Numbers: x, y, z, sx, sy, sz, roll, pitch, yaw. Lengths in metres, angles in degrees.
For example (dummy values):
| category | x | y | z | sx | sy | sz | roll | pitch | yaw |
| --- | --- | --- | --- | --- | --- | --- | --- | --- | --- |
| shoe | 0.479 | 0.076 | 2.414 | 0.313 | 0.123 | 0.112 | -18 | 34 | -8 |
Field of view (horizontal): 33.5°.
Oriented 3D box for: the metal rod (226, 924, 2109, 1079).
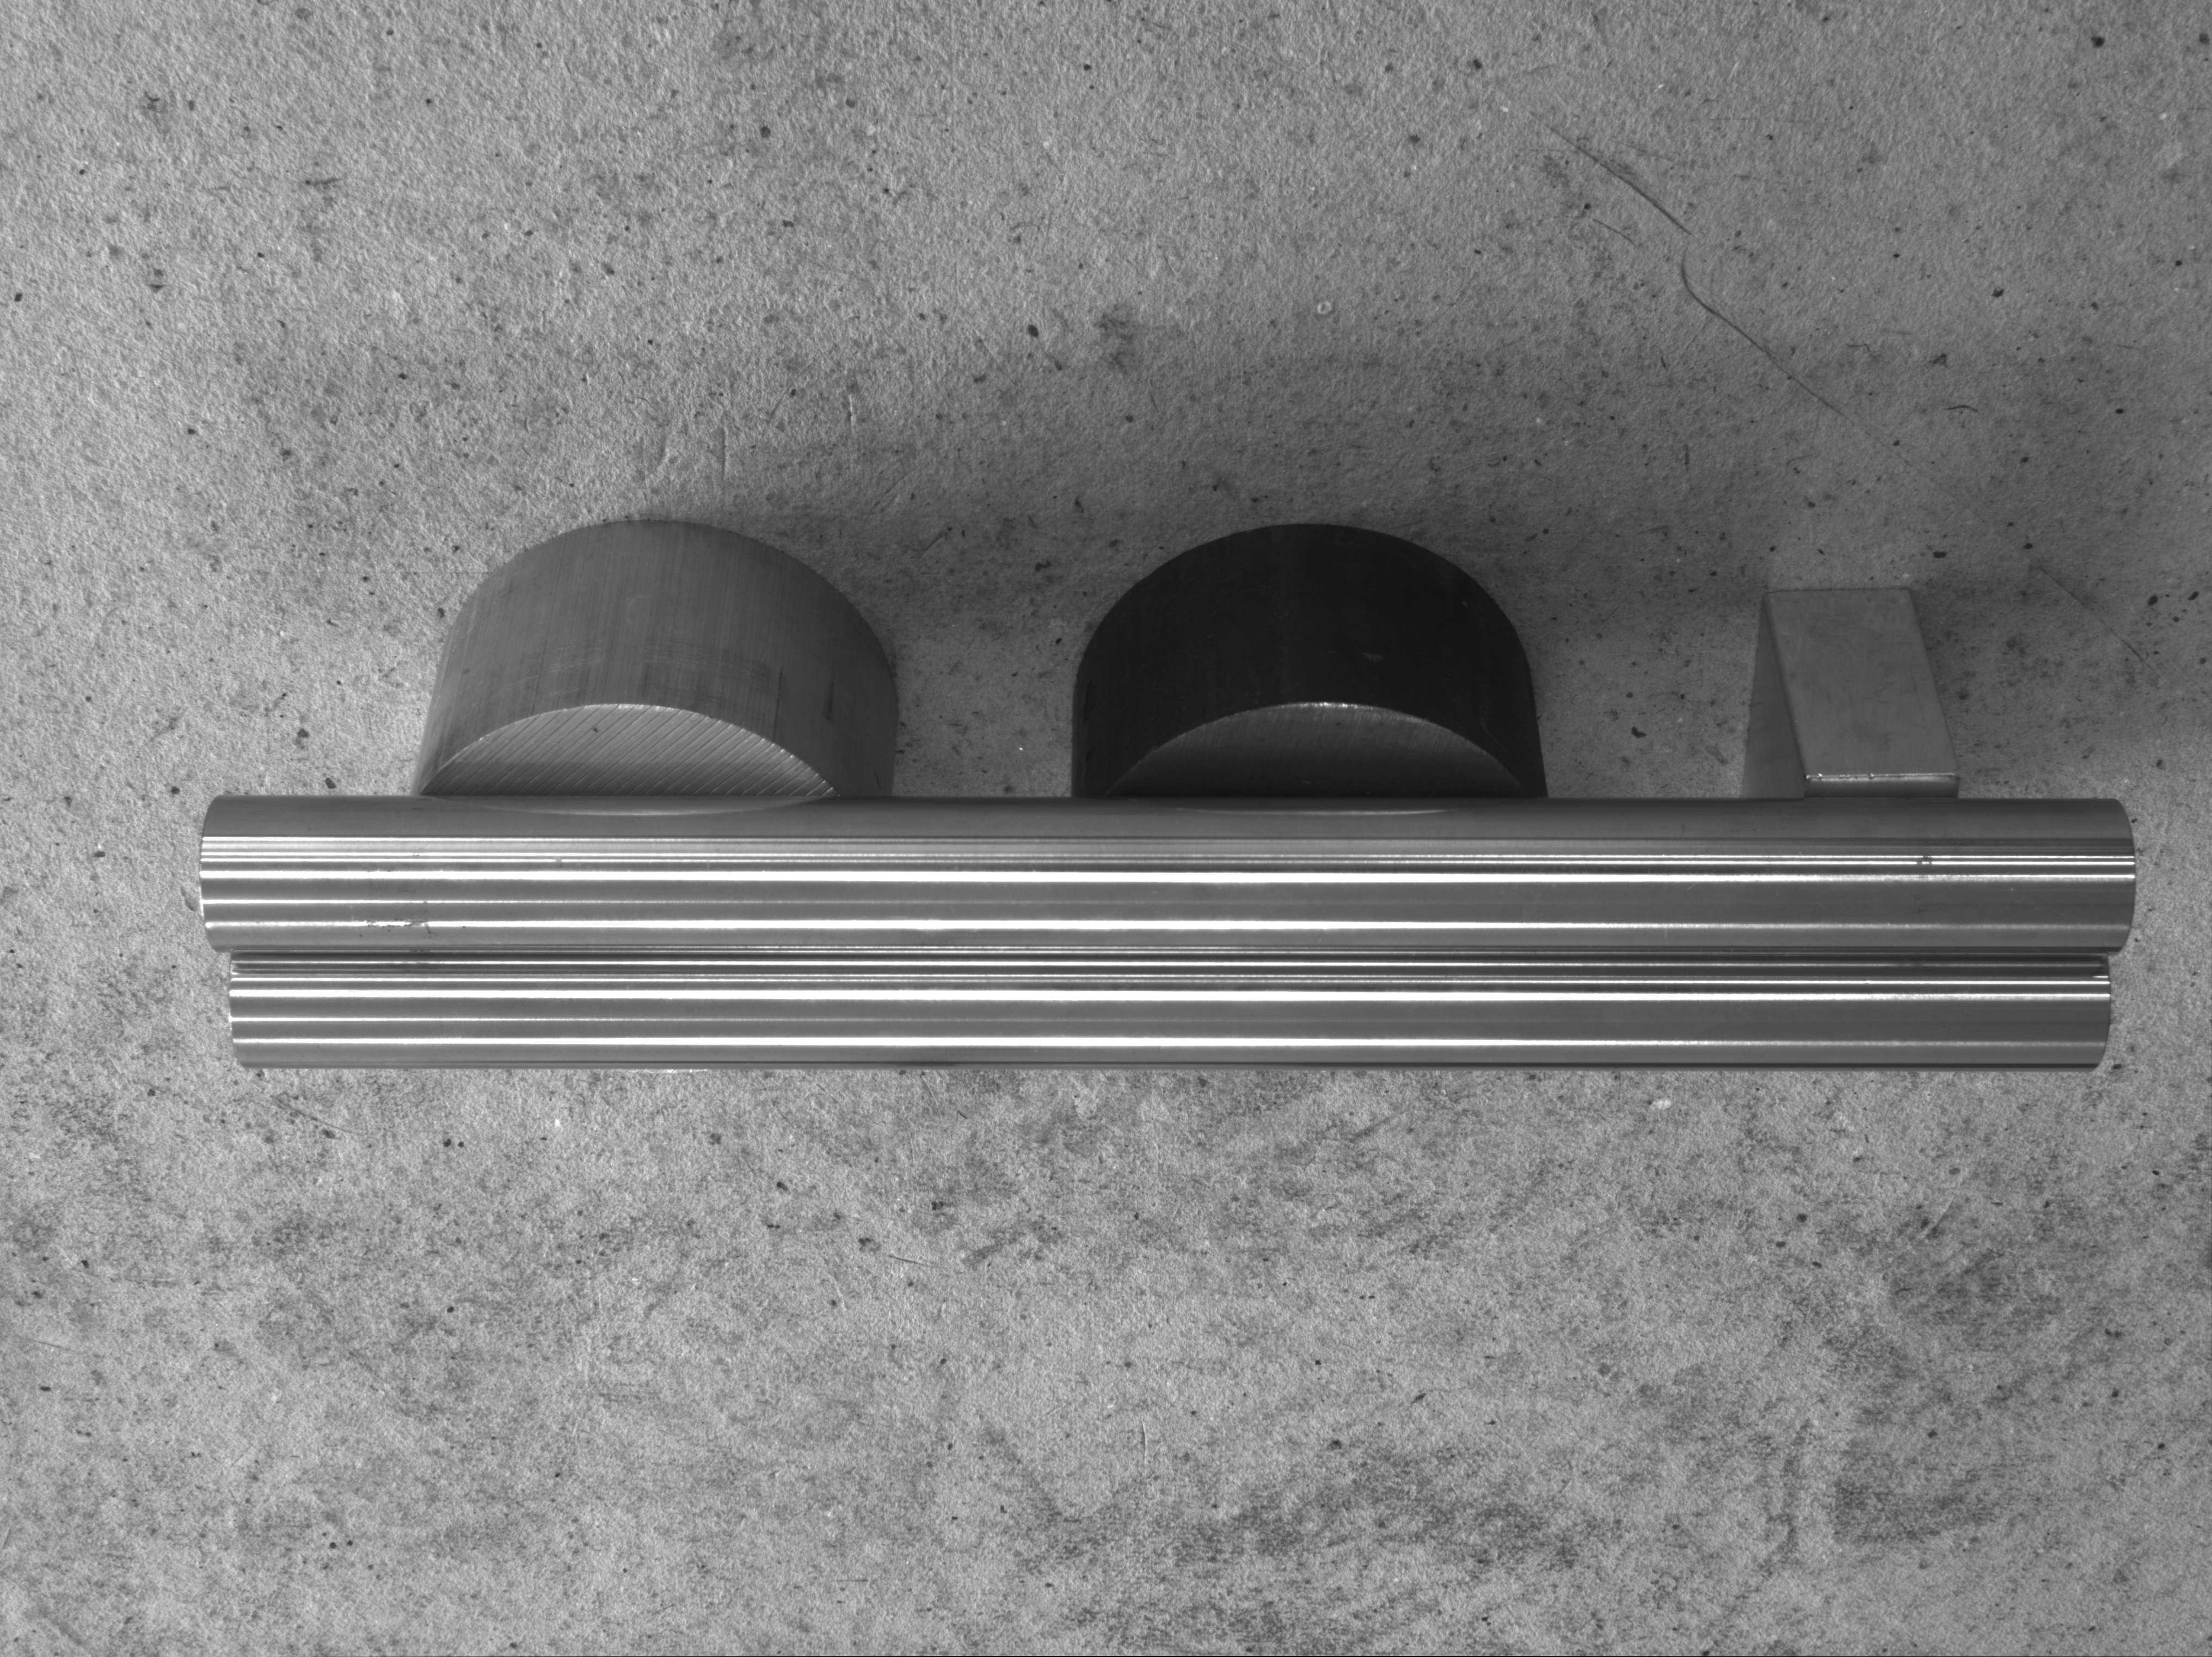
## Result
| category | x | y | z | sx | sy | sz | roll | pitch | yaw |
| --- | --- | --- | --- | --- | --- | --- | --- | --- | --- |
| metal rod | 0.010 | 0.028 | 0.597 | 0.300 | 0.025 | 0.025 | 0 | 130 | 0 |

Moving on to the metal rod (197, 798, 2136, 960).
| category | x | y | z | sx | sy | sz | roll | pitch | yaw |
| --- | --- | --- | --- | --- | --- | --- | --- | --- | --- |
| metal rod | 0.010 | 0.008 | 0.581 | 0.300 | 0.025 | 0.025 | 0 | 130 | 0 |

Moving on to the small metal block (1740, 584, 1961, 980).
| category | x | y | z | sx | sy | sz | roll | pitch | yaw |
| --- | --- | --- | --- | --- | --- | --- | --- | --- | --- |
| small metal block | 0.124 | -0.006 | 0.620 | 0.025 | 0.050 | 0.050 | -1 | 129 | 1 |

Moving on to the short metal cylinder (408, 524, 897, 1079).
| category | x | y | z | sx | sy | sz | roll | pitch | yaw |
| --- | --- | --- | --- | --- | --- | --- | --- | --- | --- |
| short metal cylinder | -0.076 | -0.004 | 0.619 | 0.080 | 0.050 | 0.080 | 0 | 130 | 0 |

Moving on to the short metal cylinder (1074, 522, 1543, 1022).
| category | x | y | z | sx | sy | sz | roll | pitch | yaw |
| --- | --- | --- | --- | --- | --- | --- | --- | --- | --- |
| short metal cylinder | 0.034 | -0.005 | 0.620 | 0.080 | 0.050 | 0.080 | 0 | 130 | 0 |
